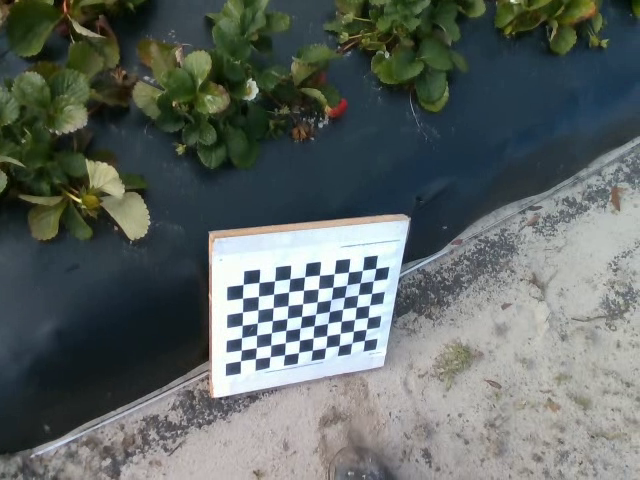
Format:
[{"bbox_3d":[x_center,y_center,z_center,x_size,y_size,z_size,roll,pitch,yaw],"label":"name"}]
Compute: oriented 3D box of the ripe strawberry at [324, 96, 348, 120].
[{"bbox_3d":[0.013,-0.127,0.593,0.027,0.021,0.022,-22,-44,2],"label":"ripe strawberry"}]
